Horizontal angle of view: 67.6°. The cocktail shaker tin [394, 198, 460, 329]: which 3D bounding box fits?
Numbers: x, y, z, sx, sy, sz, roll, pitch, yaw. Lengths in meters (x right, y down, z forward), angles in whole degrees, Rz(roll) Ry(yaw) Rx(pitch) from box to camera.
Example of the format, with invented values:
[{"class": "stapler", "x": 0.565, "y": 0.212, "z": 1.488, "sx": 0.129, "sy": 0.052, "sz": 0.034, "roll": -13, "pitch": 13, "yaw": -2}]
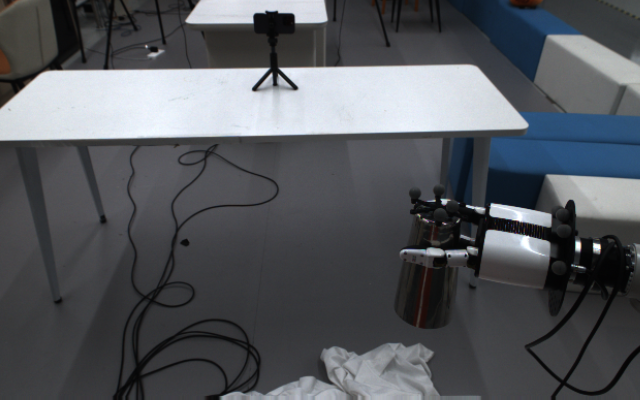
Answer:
[{"class": "cocktail shaker tin", "x": 0.167, "y": 0.091, "z": 0.724, "sx": 0.093, "sy": 0.170, "sz": 0.093, "roll": 1, "pitch": 27, "yaw": -1}]
